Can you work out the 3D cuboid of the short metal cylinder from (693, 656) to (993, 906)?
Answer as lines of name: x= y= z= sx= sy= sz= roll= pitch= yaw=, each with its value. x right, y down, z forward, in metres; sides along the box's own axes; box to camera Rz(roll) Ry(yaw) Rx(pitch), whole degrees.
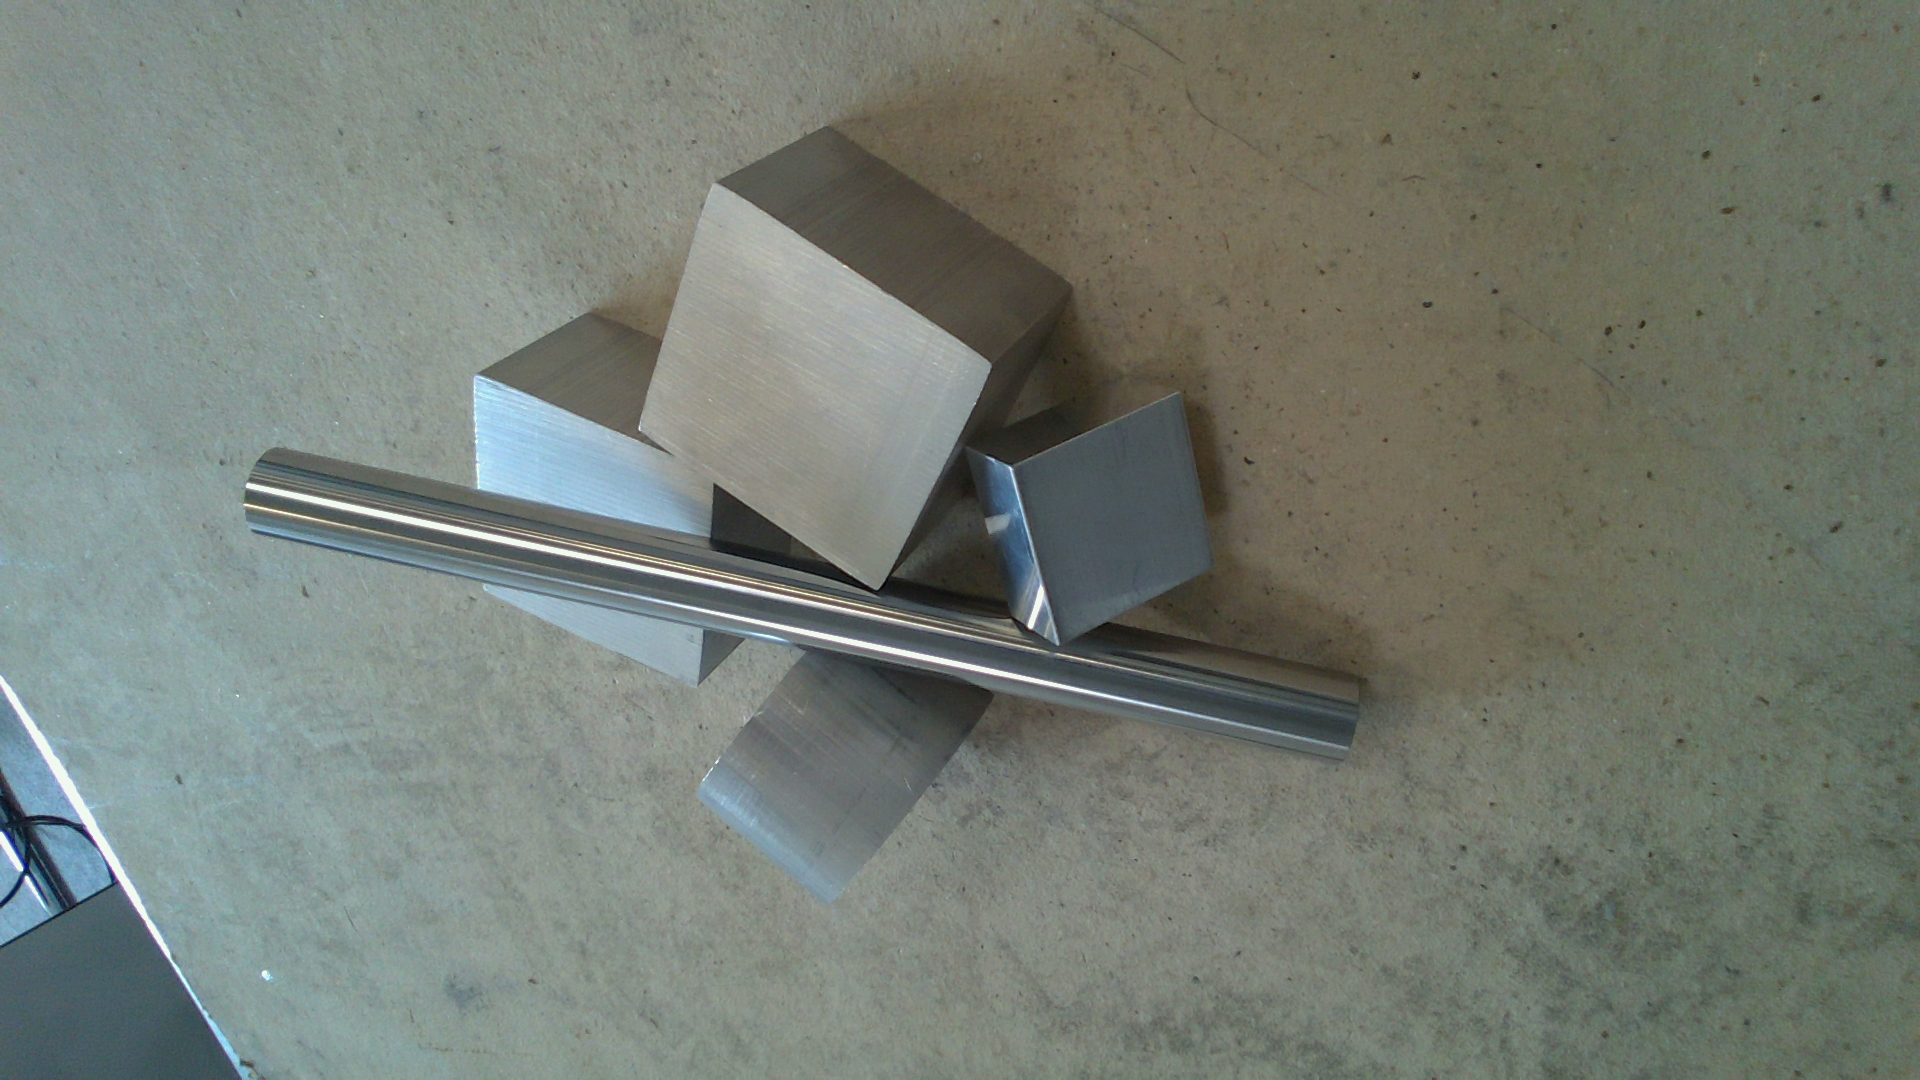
short metal cylinder: x=-0.034 y=0.062 z=0.414 sx=0.050 sy=0.080 sz=0.080 roll=39 pitch=129 yaw=2

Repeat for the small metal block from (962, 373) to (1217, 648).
small metal block: x=0.034 y=-0.008 z=0.351 sx=0.025 sy=0.050 sz=0.050 roll=29 pitch=140 yaw=58

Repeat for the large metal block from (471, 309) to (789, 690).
large metal block: x=-0.099 y=-0.013 z=0.421 sx=0.080 sy=0.050 sz=0.080 roll=22 pitch=127 yaw=15

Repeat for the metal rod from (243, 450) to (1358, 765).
metal rod: x=-0.044 y=0.018 z=0.374 sx=0.300 sy=0.025 sz=0.025 roll=12 pitch=125 yaw=2

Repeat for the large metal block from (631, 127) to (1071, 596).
large metal block: x=-0.030 y=-0.047 z=0.361 sx=0.080 sy=0.050 sz=0.080 roll=34 pitch=129 yaw=6
